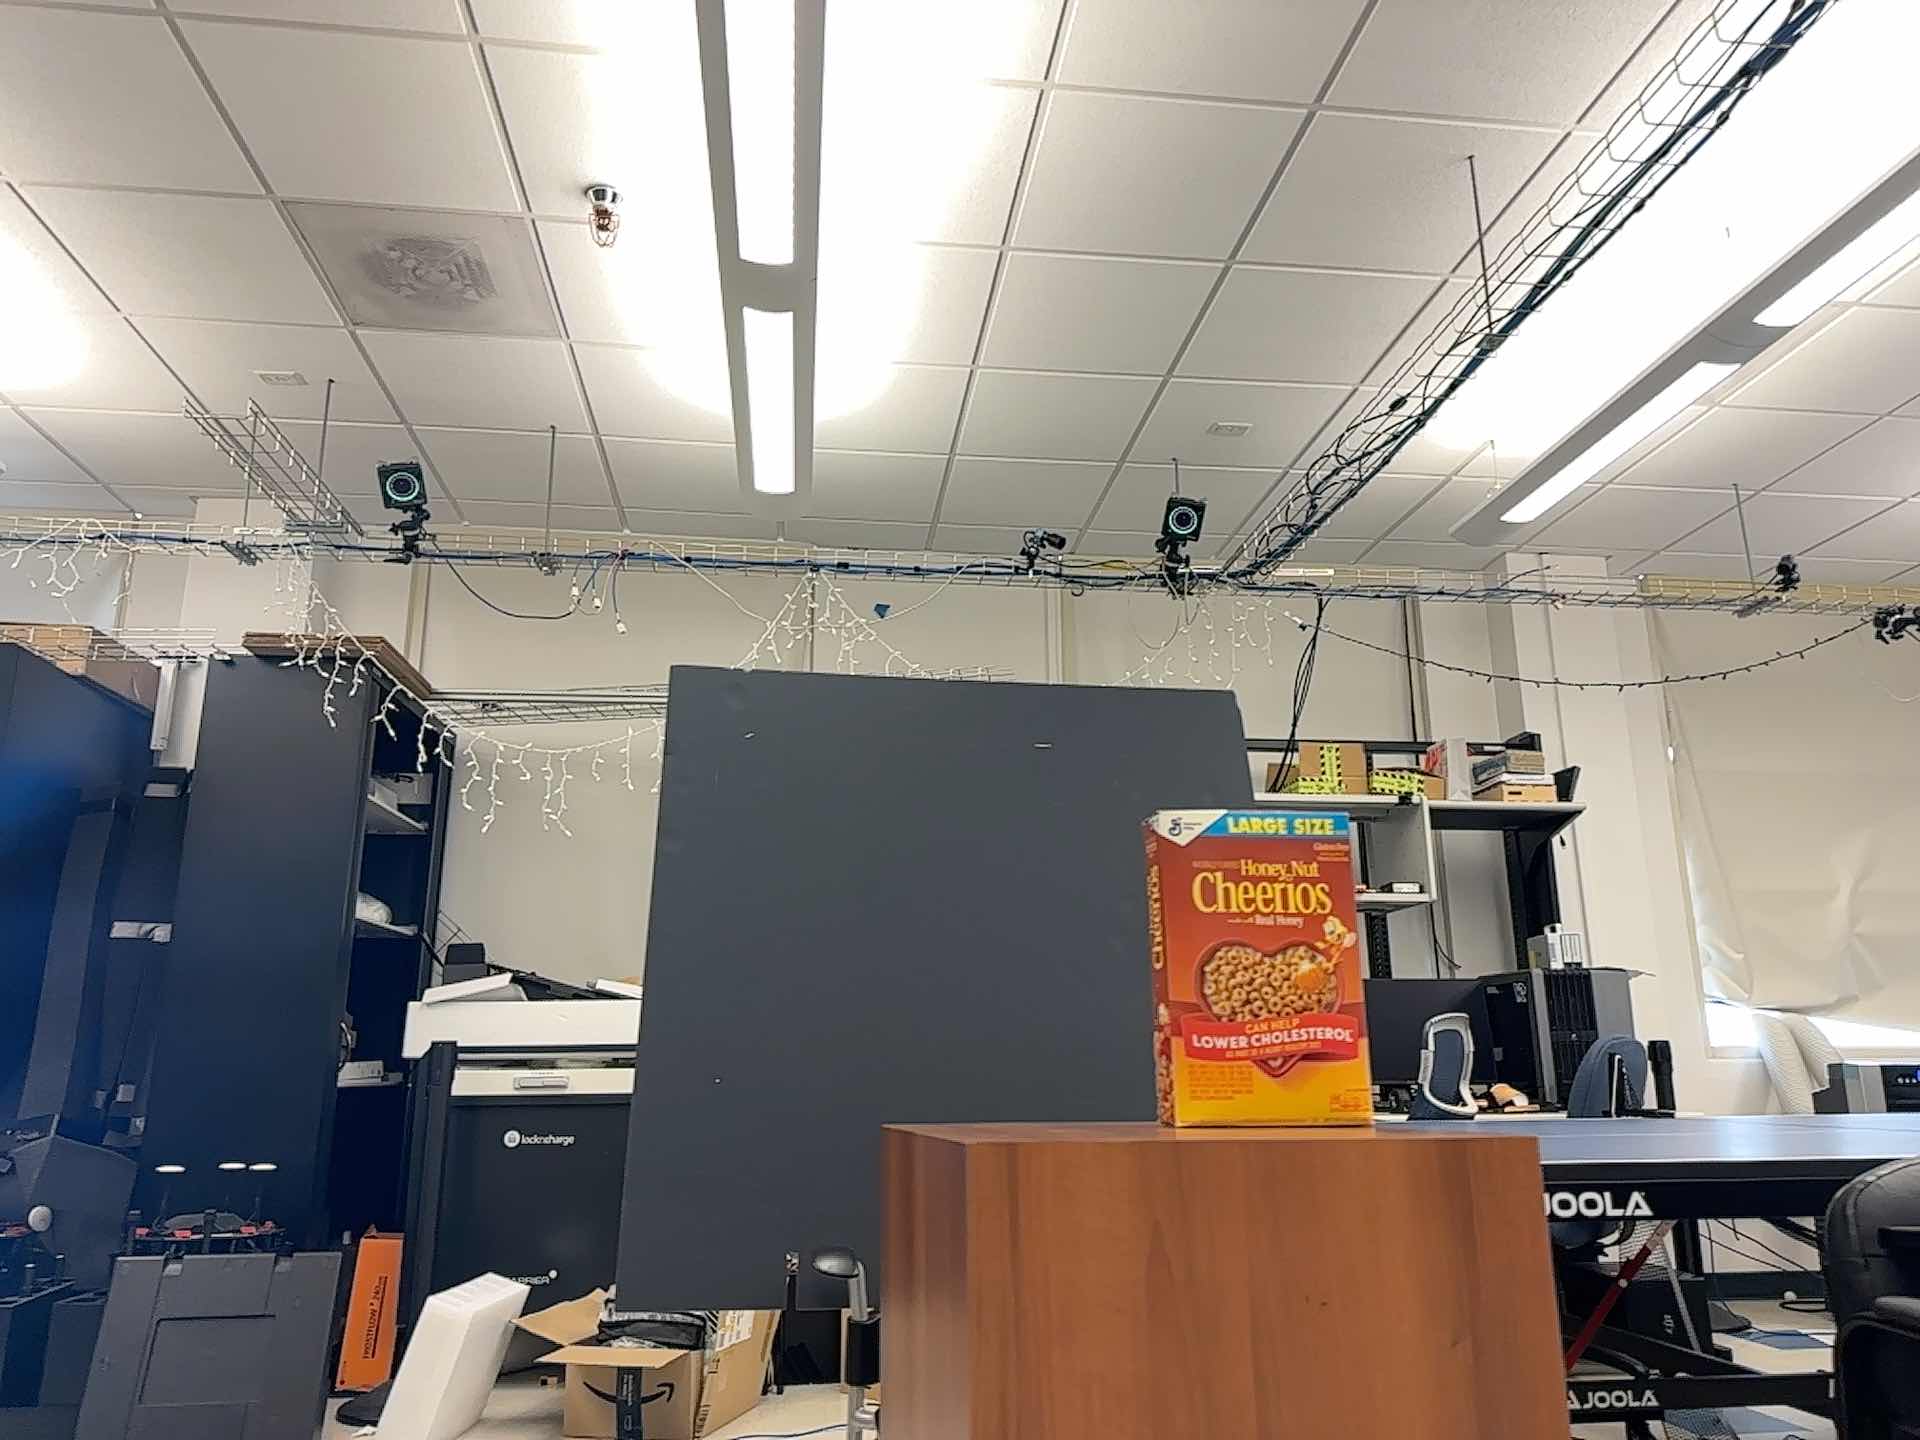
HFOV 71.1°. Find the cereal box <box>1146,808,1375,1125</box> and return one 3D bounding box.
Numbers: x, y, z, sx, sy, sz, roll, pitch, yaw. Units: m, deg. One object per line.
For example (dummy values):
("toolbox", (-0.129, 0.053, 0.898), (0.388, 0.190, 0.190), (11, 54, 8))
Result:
("cereal box", (0.294, 0.242, 1.340), (0.195, 0.297, 0.065), (0, -11, 0))
